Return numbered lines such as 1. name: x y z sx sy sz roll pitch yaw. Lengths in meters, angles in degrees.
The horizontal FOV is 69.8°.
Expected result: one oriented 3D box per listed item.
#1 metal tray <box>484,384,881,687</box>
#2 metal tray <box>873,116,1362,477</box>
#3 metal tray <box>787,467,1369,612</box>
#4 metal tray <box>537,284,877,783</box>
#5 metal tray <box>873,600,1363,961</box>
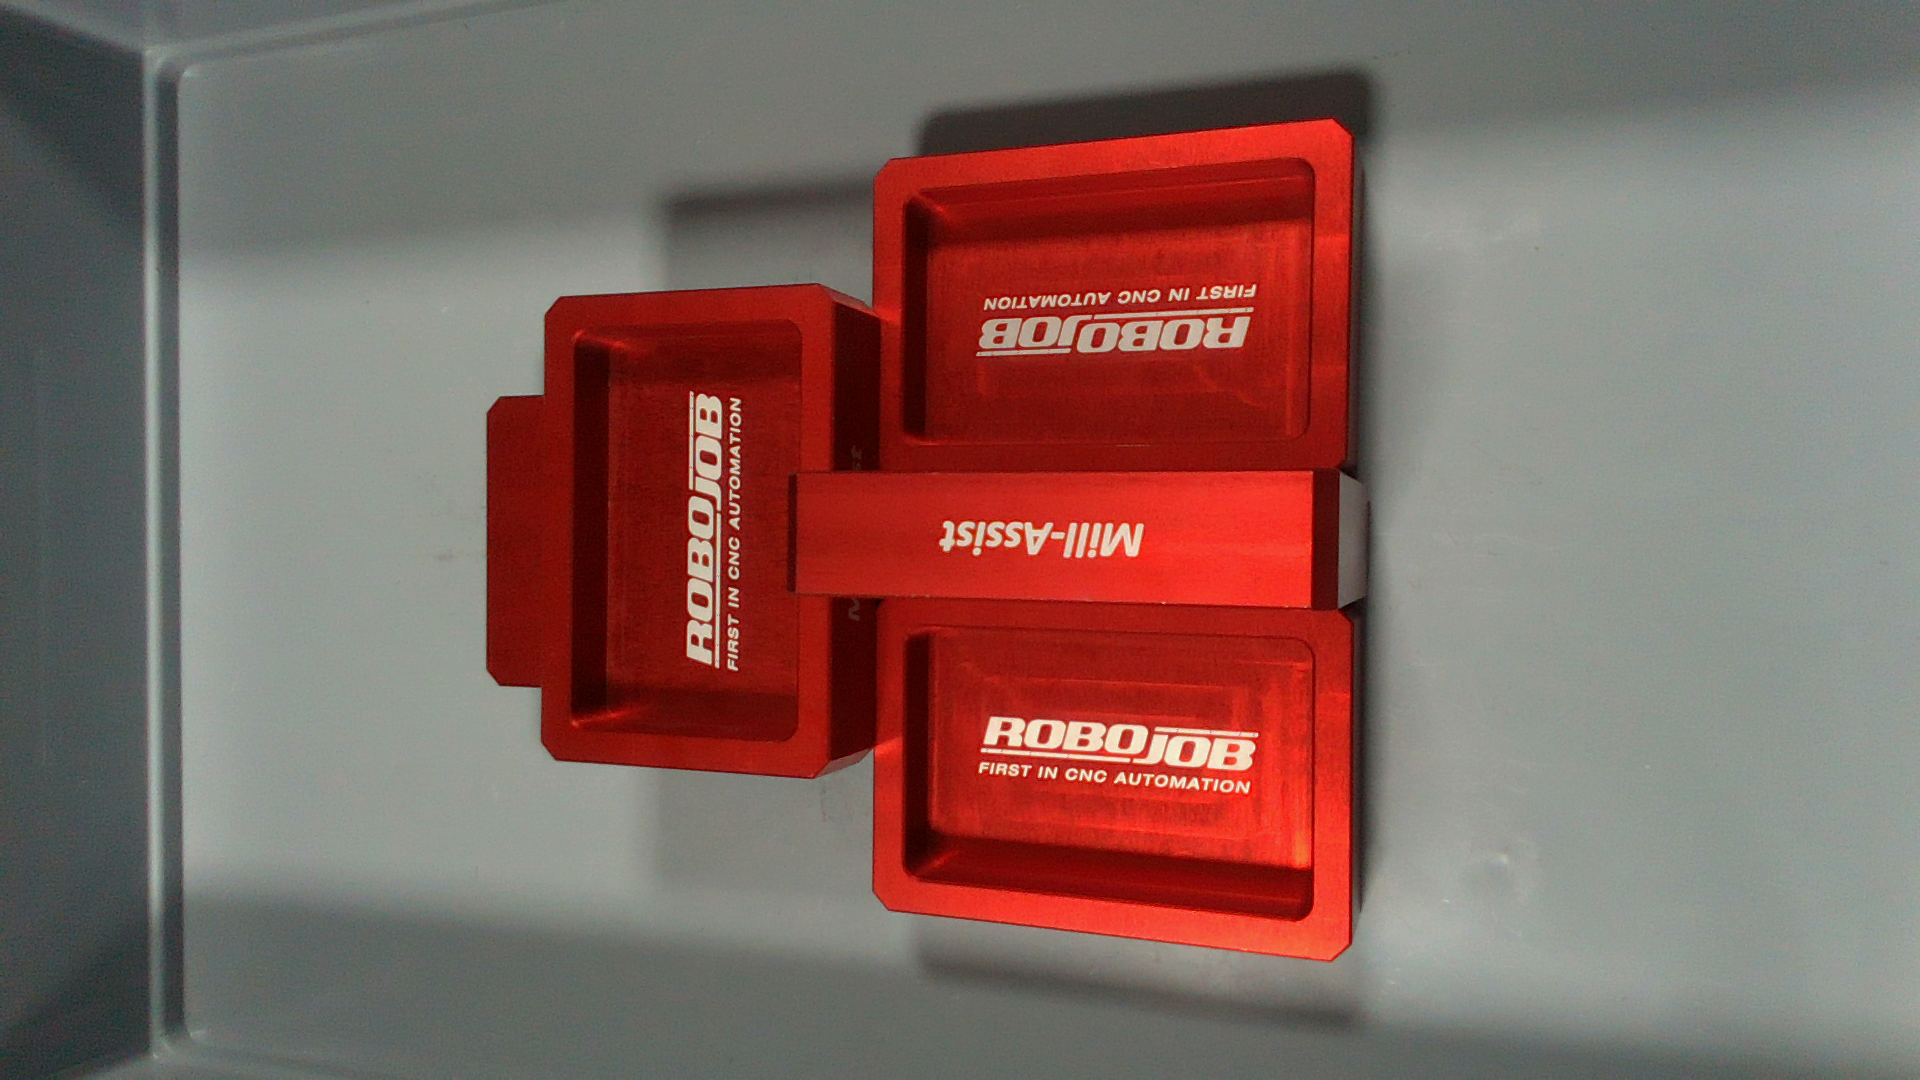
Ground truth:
1. metal tray: -0.083 0.000 0.420 0.130 0.030 0.090 0 90 20
2. metal tray: 0.042 -0.062 0.377 0.130 0.030 0.090 1 90 20
3. metal tray: 0.033 -0.001 0.347 0.130 0.090 0.030 1 90 20
4. metal tray: -0.071 -0.002 0.385 0.090 0.030 0.130 1 90 20
5. metal tray: 0.042 0.060 0.377 0.130 0.030 0.090 1 90 20
